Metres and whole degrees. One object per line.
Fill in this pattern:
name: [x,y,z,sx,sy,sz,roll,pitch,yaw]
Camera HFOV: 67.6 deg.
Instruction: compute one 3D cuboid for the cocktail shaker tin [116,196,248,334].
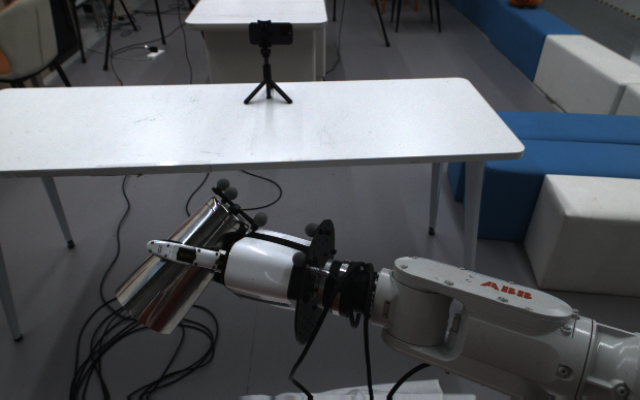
cocktail shaker tin: [-0.172,0.077,0.639,0.170,0.093,0.093,-48,49,-3]
